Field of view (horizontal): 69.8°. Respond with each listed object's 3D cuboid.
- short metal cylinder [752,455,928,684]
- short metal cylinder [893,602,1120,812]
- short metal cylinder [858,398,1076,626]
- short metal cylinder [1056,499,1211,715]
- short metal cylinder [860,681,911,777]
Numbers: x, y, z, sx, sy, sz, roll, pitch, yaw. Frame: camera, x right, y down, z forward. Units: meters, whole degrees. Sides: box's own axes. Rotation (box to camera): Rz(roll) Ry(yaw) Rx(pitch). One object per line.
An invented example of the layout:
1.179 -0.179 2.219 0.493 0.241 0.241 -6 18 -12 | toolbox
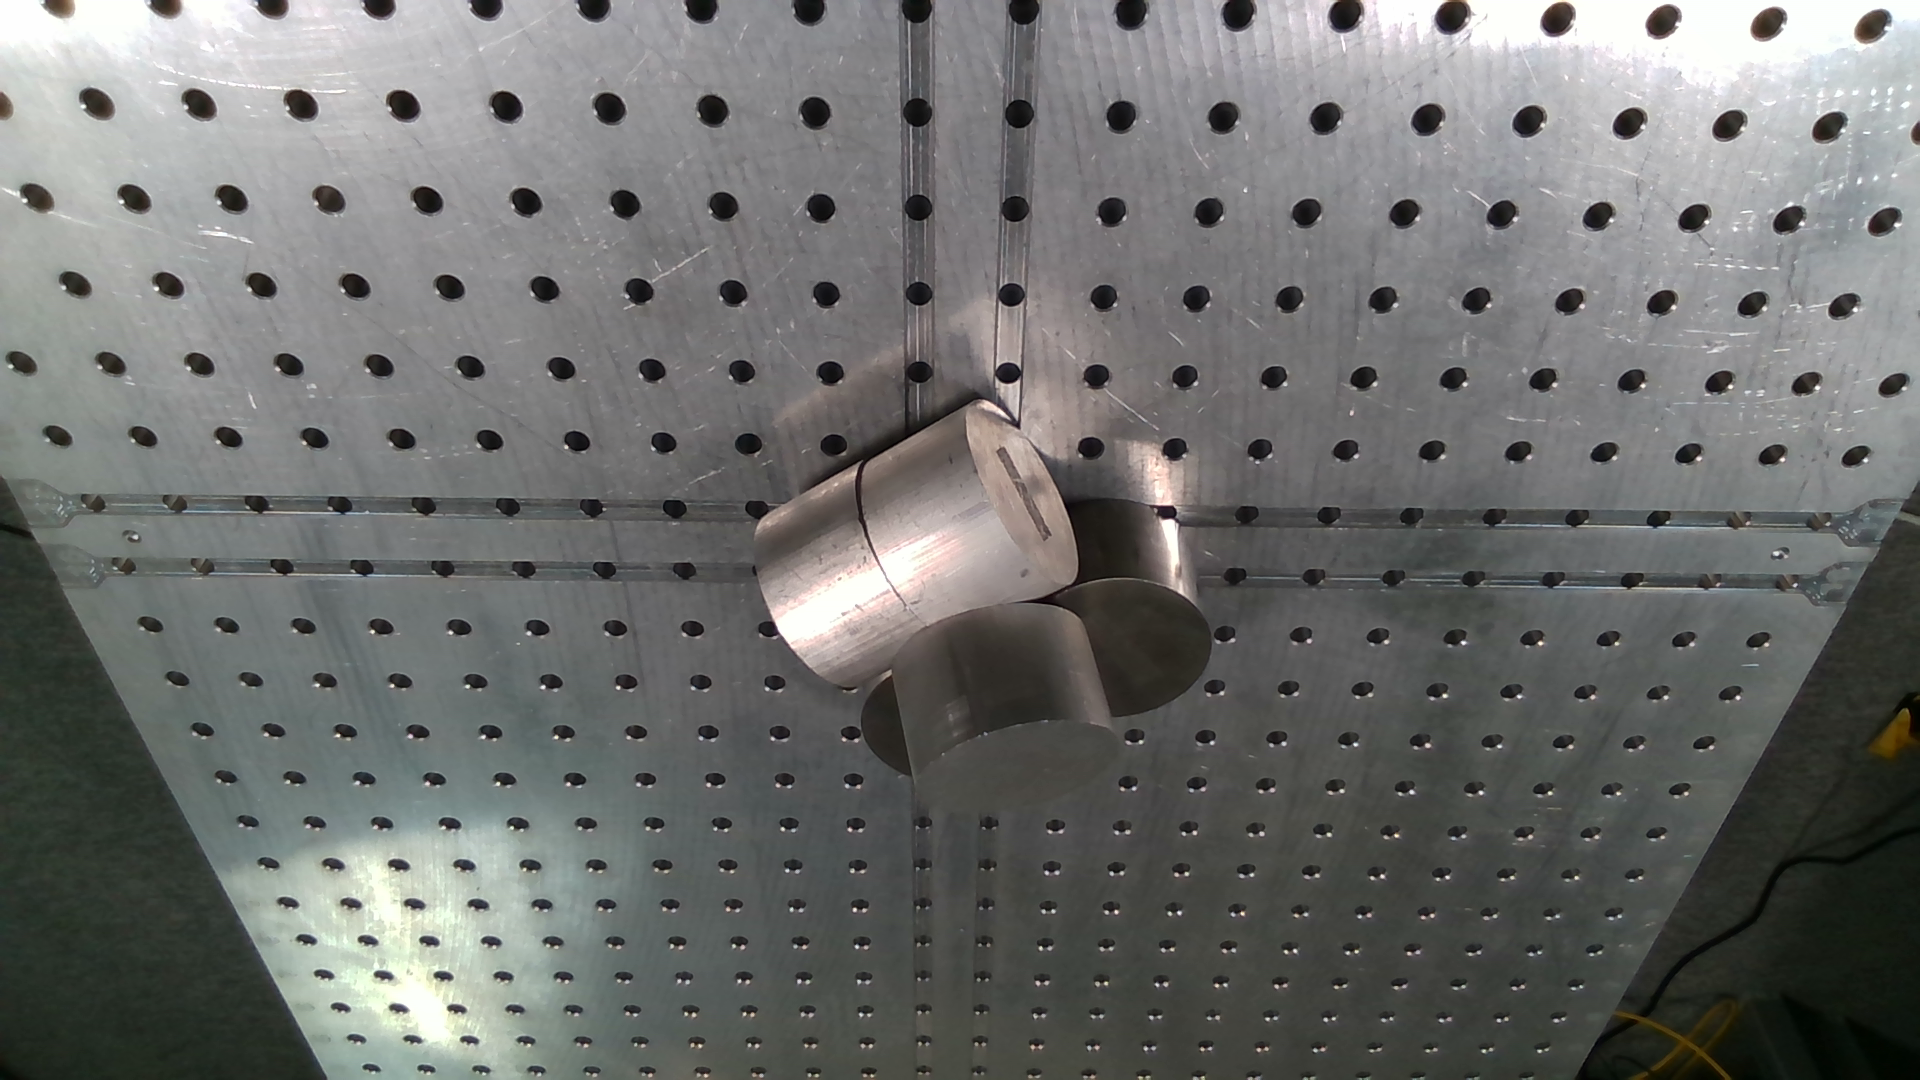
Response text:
-0.039 0.013 0.557 0.050 0.080 0.080 -27 125 21 | short metal cylinder
0.017 0.067 0.538 0.080 0.050 0.080 -10 148 -6 | short metal cylinder
0.004 -0.008 0.540 0.050 0.080 0.080 -27 125 21 | short metal cylinder
0.064 0.029 0.590 0.080 0.050 0.080 0 130 0 | short metal cylinder
-0.003 0.064 0.618 0.080 0.050 0.080 0 130 0 | short metal cylinder
